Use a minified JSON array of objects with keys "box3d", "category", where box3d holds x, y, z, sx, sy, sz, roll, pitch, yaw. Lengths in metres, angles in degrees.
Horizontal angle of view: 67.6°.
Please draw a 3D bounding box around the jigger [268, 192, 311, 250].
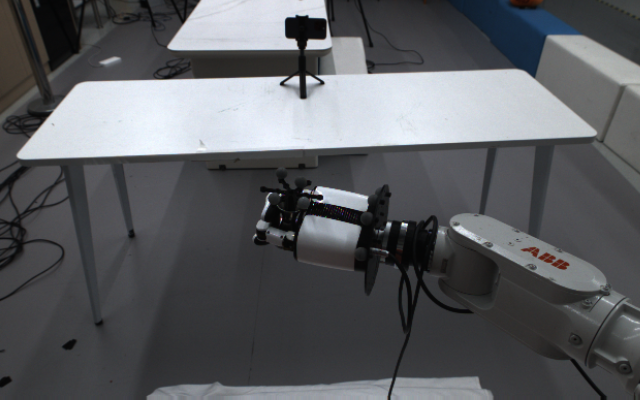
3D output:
[{"box3d":[-0.044,0.034,0.708,0.043,0.071,0.043,6,32,-4],"category":"jigger"}]
